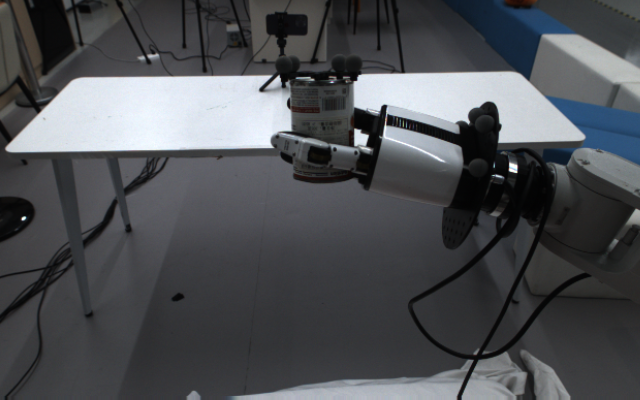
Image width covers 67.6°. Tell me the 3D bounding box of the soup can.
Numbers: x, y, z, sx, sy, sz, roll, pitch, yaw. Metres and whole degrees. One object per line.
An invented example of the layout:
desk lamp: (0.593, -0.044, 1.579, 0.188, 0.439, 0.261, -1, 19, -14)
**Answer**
soup can: (0.005, -0.074, 0.507, 0.067, 0.101, 0.067, -2, 17, 0)
